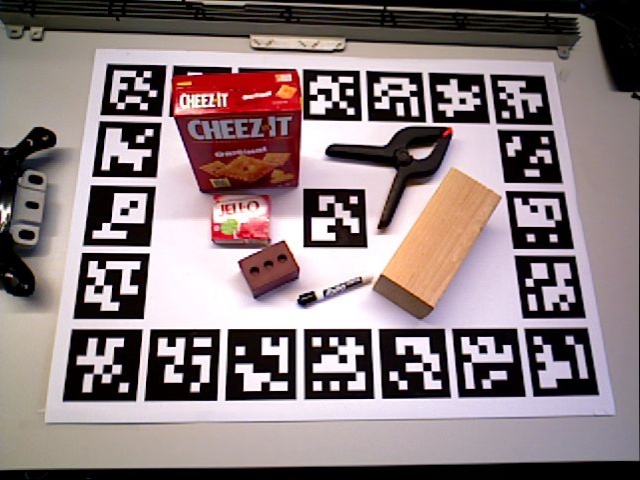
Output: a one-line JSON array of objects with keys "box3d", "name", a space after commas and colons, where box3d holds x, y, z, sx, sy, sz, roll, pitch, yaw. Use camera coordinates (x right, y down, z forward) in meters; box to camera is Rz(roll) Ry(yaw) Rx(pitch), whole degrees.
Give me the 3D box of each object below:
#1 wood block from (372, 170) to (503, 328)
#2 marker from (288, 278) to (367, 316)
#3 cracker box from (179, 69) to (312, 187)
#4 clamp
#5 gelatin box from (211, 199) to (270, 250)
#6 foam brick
[{"box3d": [0.173, 0.013, 0.799, 0.090, 0.092, 0.203, 33, 72, 9], "name": "wood block"}, {"box3d": [0.011, 0.085, 0.802, 0.120, 0.020, 0.019, -19, 77, -8], "name": "marker"}, {"box3d": [-0.101, -0.150, 0.759, 0.163, 0.217, 0.071, -3, 71, -7], "name": "cracker box"}, {"box3d": [0.130, -0.123, 0.861, 0.201, 0.037, 0.165, -30, 78, -10], "name": "clamp"}, {"box3d": [-0.121, -0.023, 0.825, 0.089, 0.030, 0.073, -1, 75, -3], "name": "gelatin box"}, {"box3d": [-0.078, 0.051, 0.792, 0.077, 0.052, 0.052, -24, 77, -10], "name": "foam brick"}]
